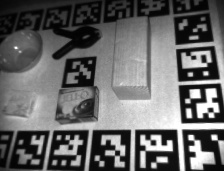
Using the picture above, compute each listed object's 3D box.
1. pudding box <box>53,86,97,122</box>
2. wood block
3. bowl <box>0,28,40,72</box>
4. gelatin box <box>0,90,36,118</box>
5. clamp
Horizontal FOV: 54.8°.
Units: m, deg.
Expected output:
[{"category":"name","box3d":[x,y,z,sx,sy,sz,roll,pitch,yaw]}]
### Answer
[{"category":"pudding box","box3d":[-0.101,0.053,0.591,0.113,0.039,0.090,-4,71,15]},{"category":"wood block","box3d":[0.052,-0.073,0.575,0.089,0.092,0.206,0,68,14]},{"category":"bowl","box3d":[-0.296,-0.106,0.704,0.161,0.056,0.161,-4,69,12]},{"category":"gelatin box","box3d":[-0.280,0.052,0.638,0.088,0.030,0.073,5,71,16]},{"category":"clamp","box3d":[-0.135,-0.149,0.694,0.164,0.037,0.121,-12,65,7]}]
